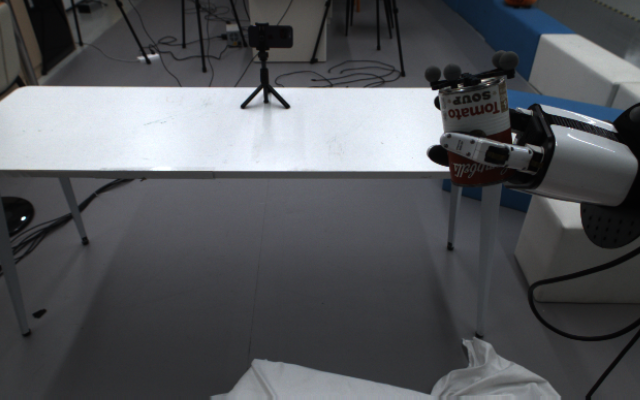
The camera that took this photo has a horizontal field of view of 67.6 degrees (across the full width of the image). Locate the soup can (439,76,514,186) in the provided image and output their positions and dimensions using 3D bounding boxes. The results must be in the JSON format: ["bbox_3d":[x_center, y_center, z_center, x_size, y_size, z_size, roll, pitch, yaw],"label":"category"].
[{"bbox_3d":[0.167,-0.073,0.511,0.067,0.101,0.067,-13,17,4],"label":"soup can"}]
